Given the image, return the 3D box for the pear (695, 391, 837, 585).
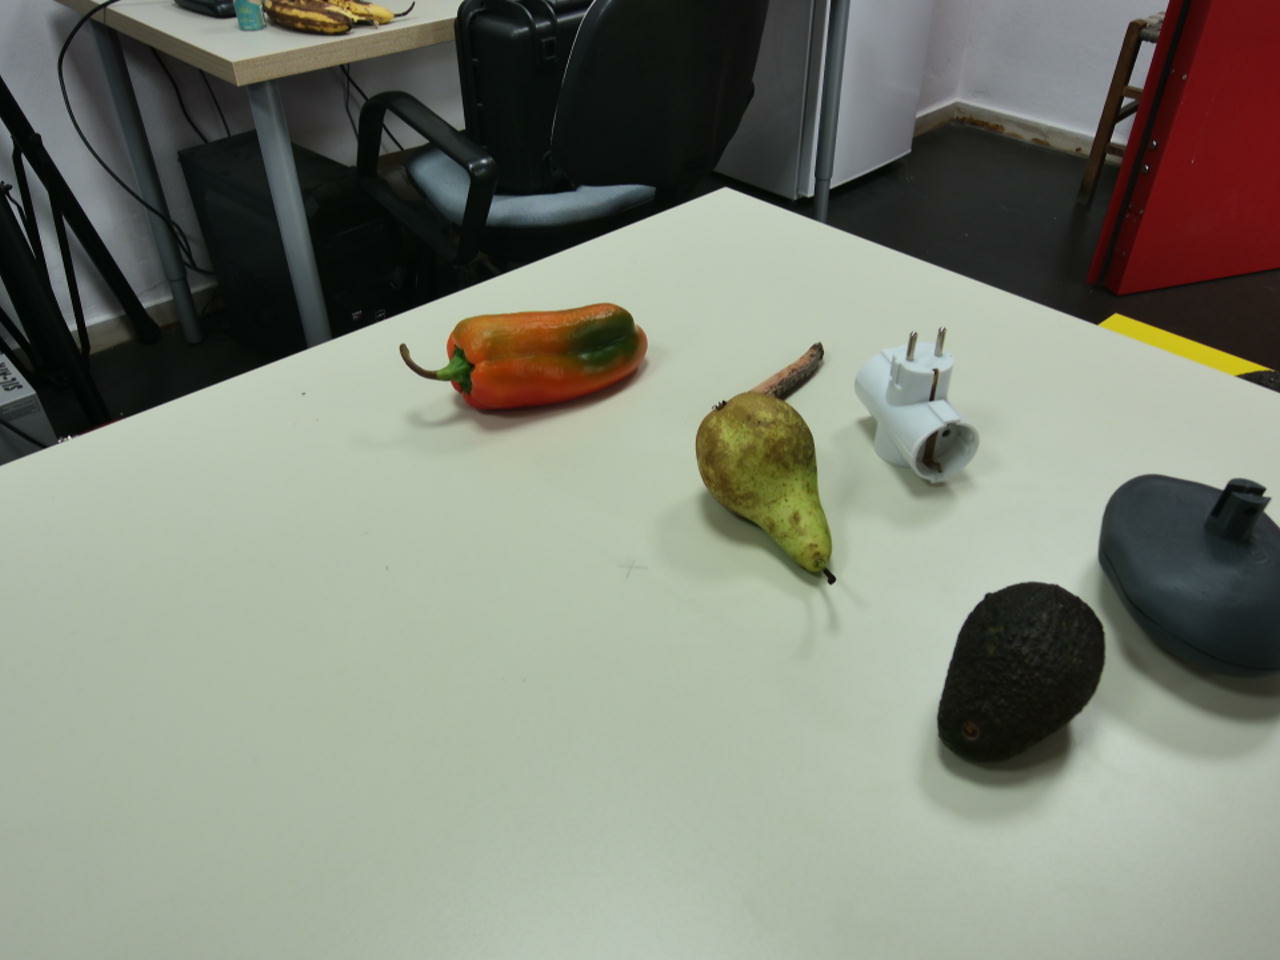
[{"bbox_3d":[0.089,0.001,0.582,0.071,0.075,0.144,-23,42,-27],"label":"pear"}]
